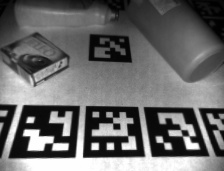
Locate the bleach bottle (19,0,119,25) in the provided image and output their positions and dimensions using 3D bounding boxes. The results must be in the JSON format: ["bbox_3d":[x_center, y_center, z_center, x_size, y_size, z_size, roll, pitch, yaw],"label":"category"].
[{"bbox_3d":[-0.105,-0.210,0.577,0.252,0.068,0.102,-1,56,-10],"label":"bleach bottle"}]

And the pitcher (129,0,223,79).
[{"bbox_3d":[0.160,-0.136,0.528,0.191,0.132,0.240,5,47,-48],"label":"pitcher"}]

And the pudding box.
[{"bbox_3d":[-0.157,-0.070,0.468,0.113,0.039,0.091,38,51,20],"label":"pudding box"}]
